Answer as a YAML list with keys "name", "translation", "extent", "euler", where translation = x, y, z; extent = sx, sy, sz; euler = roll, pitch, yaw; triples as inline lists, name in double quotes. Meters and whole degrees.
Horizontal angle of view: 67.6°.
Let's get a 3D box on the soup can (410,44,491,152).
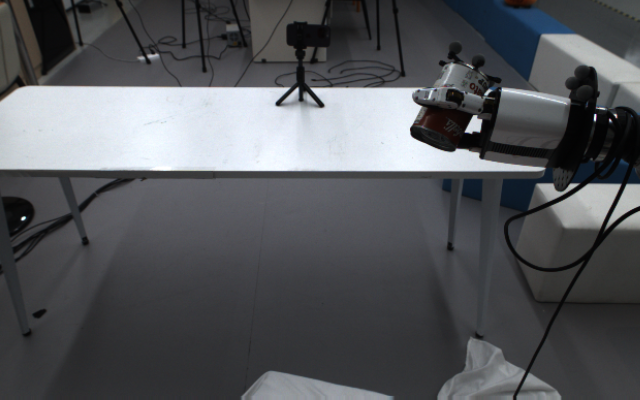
- name: "soup can"
  translation: [0.176, -0.126, 0.653]
  extent: [0.067, 0.101, 0.067]
  euler: [28, -2, 1]
